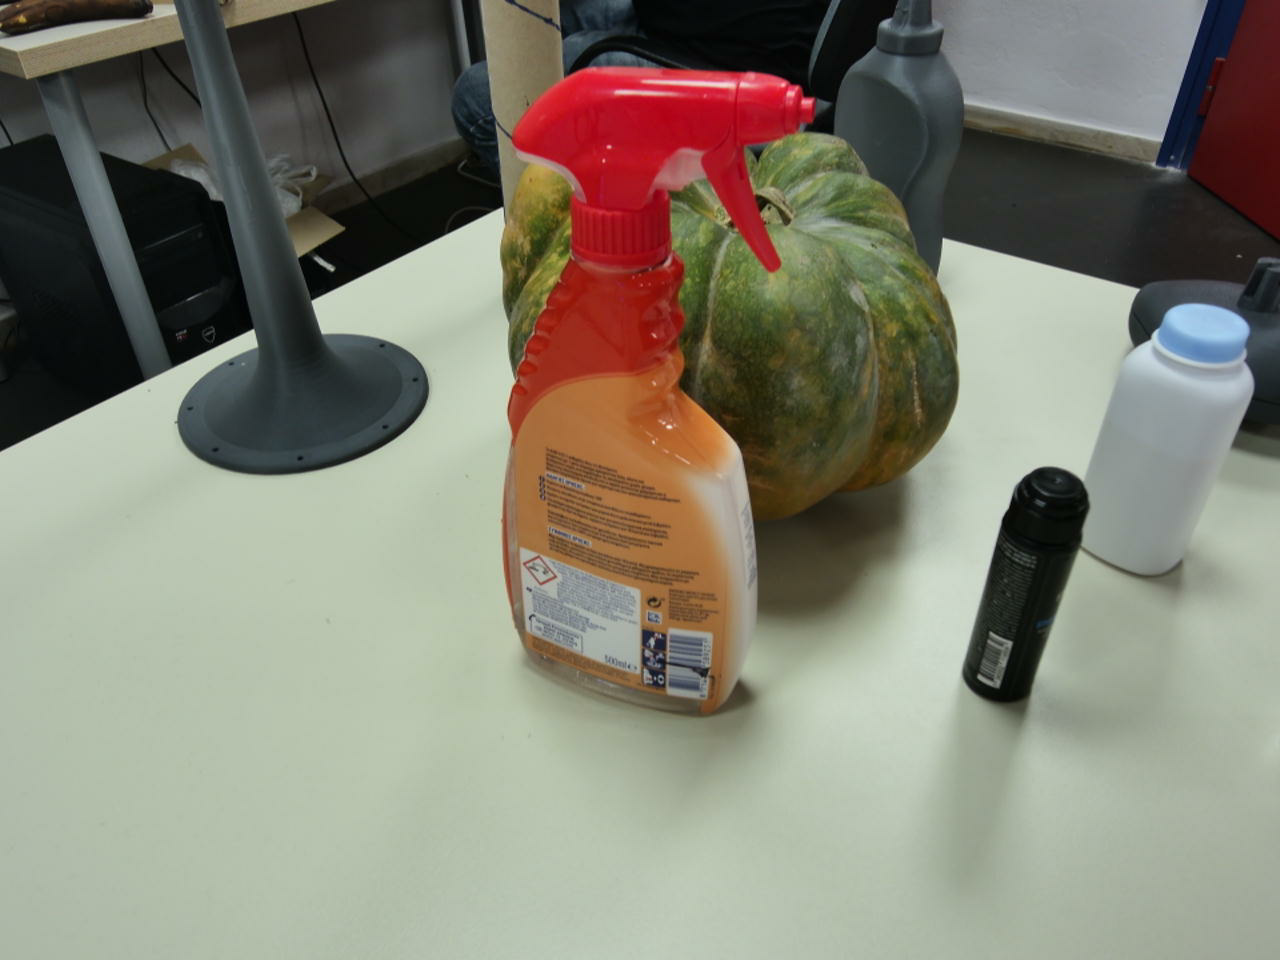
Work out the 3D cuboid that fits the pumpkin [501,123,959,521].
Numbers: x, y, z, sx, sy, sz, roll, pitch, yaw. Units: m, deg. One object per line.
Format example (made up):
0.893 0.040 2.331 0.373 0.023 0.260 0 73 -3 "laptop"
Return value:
0.047 -0.091 0.534 0.237 0.173 0.270 -9 38 -12 "pumpkin"
